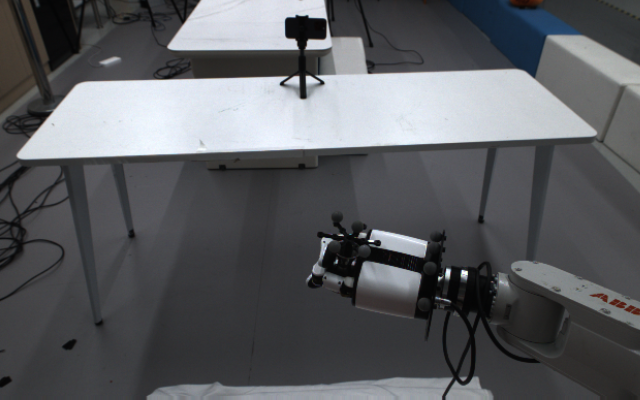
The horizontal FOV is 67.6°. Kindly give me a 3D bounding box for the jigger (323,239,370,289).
[{"bbox_3d":[0.036,0.097,0.704,0.043,0.071,0.043,7,32,-4],"label":"jigger"}]
